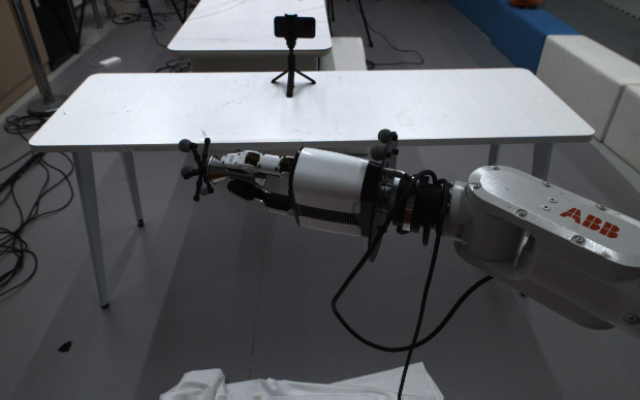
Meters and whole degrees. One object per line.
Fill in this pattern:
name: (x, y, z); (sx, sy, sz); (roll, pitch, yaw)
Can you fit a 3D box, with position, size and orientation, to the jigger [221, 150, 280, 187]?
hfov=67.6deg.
jigger: (-0.103, -0.041, 0.643); (0.071, 0.043, 0.043); (4, 34, 14)
